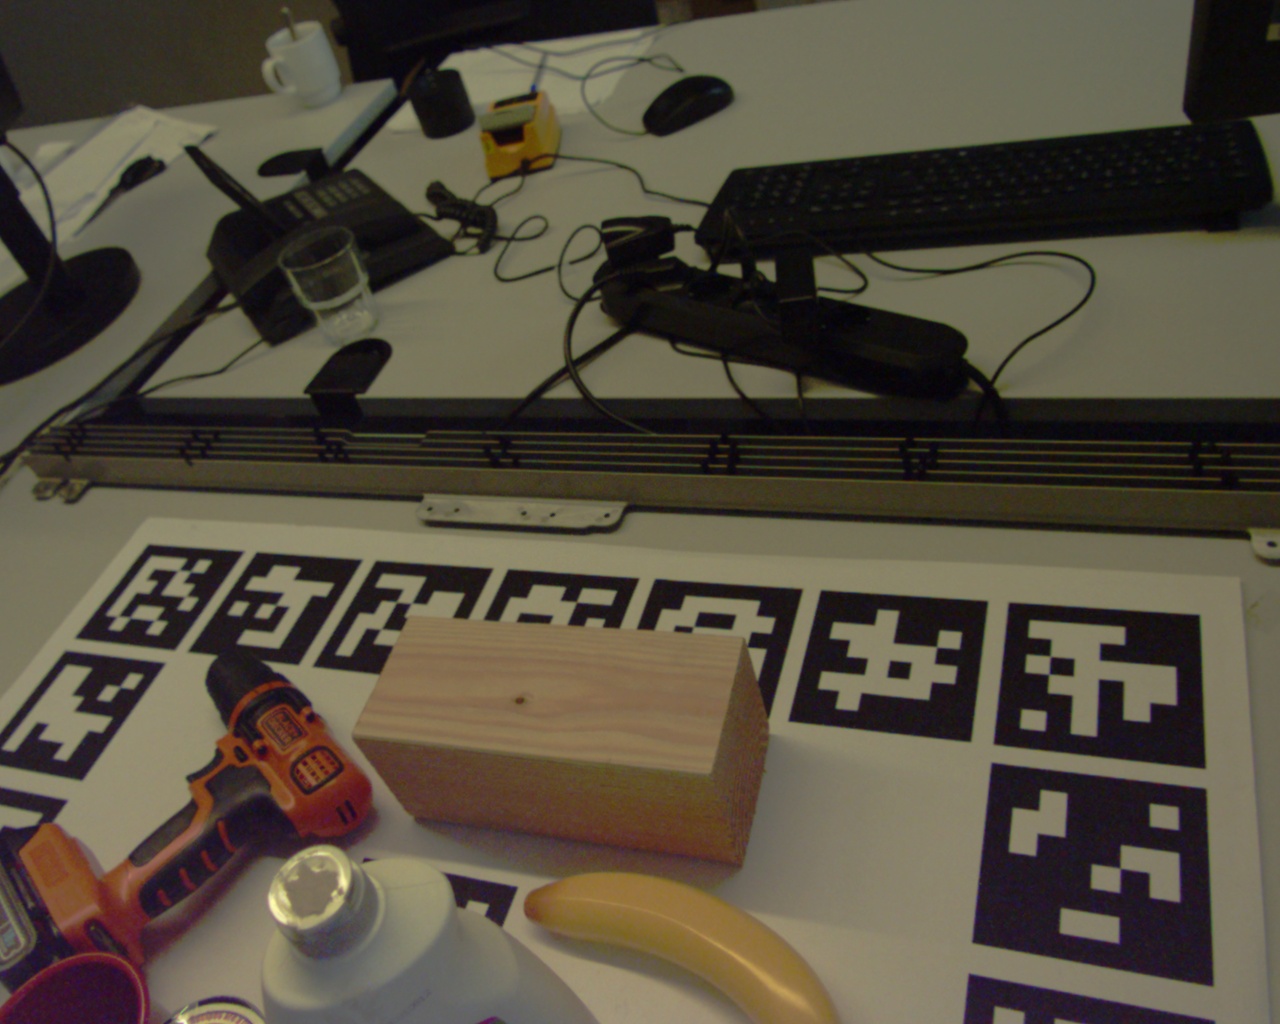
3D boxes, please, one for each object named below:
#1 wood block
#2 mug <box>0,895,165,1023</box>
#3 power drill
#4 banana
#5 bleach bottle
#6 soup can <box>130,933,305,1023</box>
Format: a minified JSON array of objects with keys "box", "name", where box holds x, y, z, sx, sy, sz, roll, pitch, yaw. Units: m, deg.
[{"box":[-0.049,0.120,0.675,0.208,0.090,0.090,2,46,22],"name":"wood block"},{"box":[-0.290,0.271,0.603,0.117,0.081,0.094,-31,44,-10],"name":"mug"},{"box":[-0.286,0.180,0.729,0.186,0.057,0.187,-39,48,-23],"name":"power drill"},{"box":[0.004,0.202,0.599,0.200,0.038,0.074,17,66,32],"name":"banana"},{"box":[-0.083,0.198,0.480,0.102,0.249,0.069,-38,44,-23],"name":"bleach bottle"},{"box":[-0.192,0.262,0.553,0.068,0.101,0.068,-9,38,6],"name":"soup can"}]
